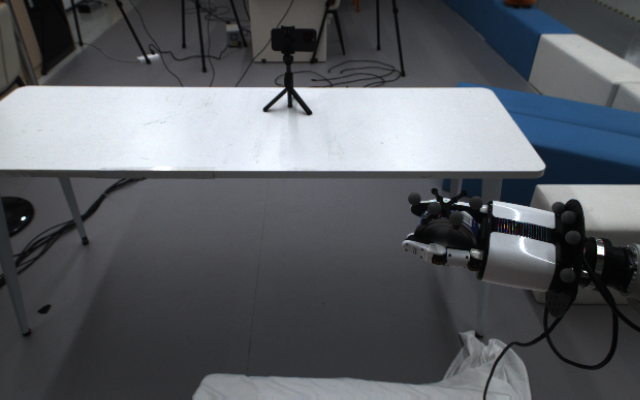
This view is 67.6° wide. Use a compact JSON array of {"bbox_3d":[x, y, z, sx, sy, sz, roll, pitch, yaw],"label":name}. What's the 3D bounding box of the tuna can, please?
[{"bbox_3d":[0.177,0.046,0.672,0.085,0.085,0.034,14,41,16],"label":"tuna can"}]
